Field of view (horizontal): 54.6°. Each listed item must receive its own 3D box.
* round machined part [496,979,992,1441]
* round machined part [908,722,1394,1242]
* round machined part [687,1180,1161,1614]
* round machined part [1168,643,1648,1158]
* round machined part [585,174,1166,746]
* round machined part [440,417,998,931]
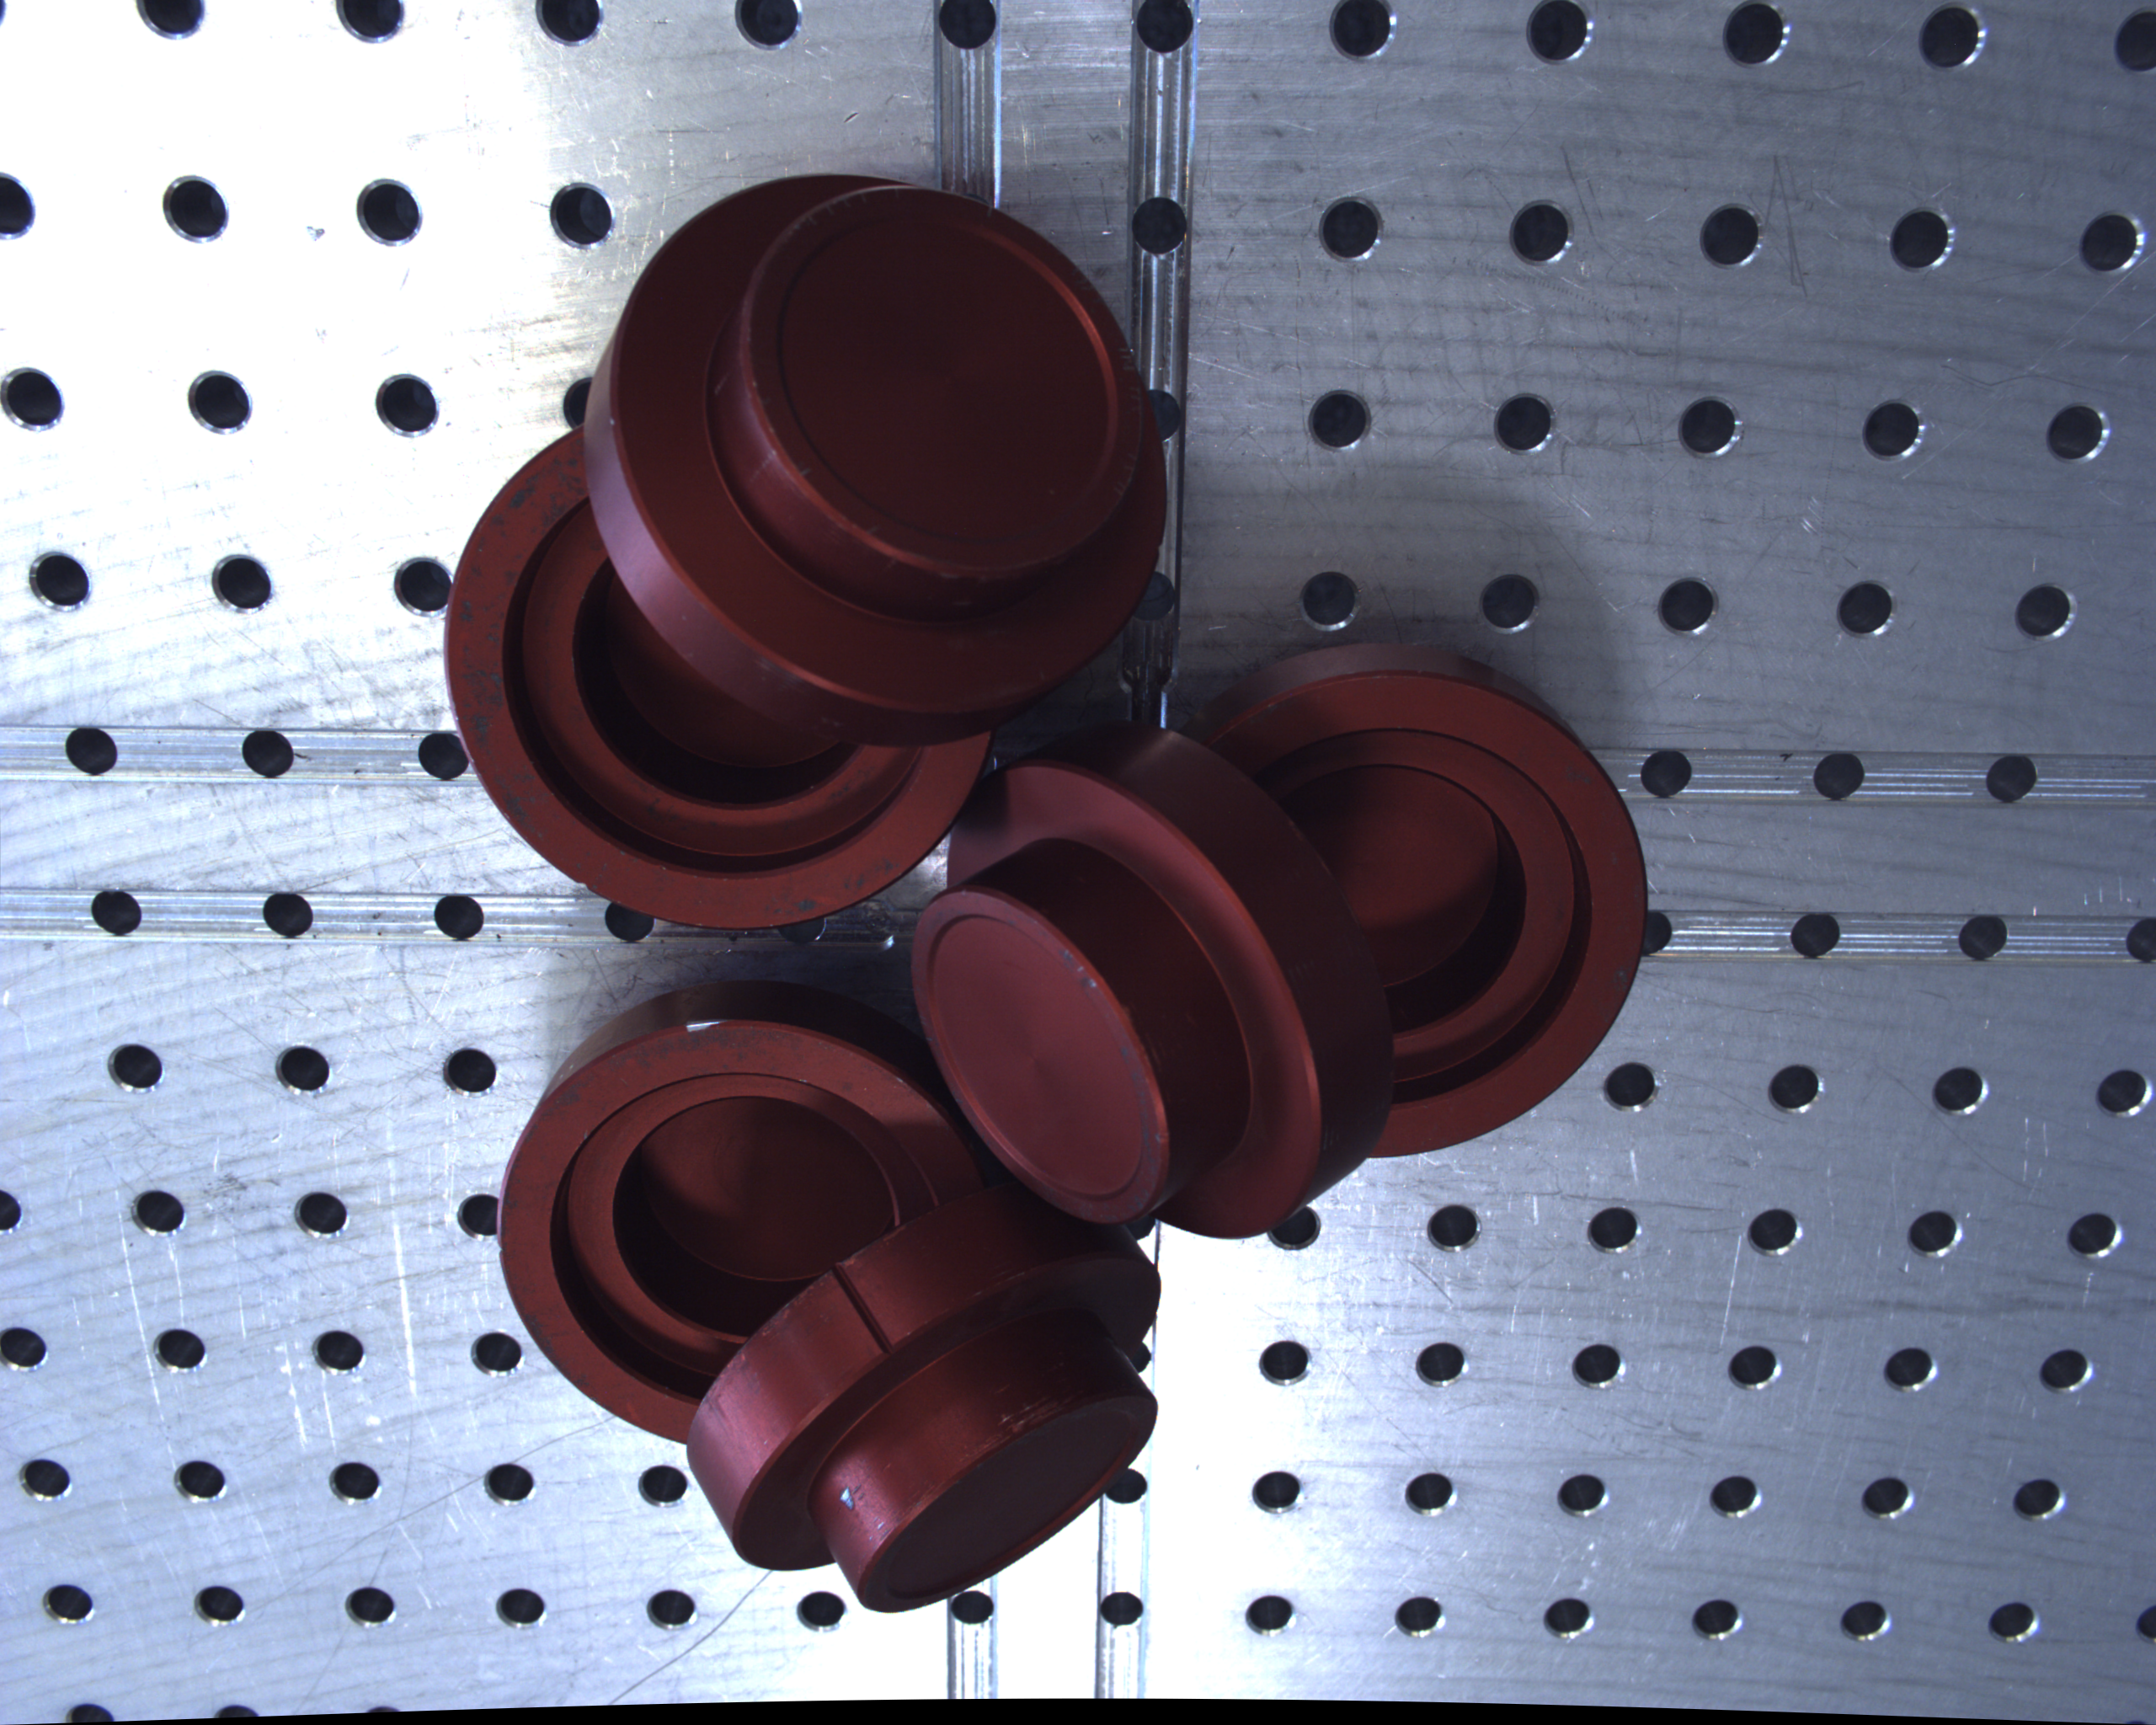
[{"bbox_3d":[-0.065,0.068,0.428,0.099,0.042,0.097,0,110,0],"label":"round machined part"},{"bbox_3d":[0.006,0.027,0.382,0.042,0.098,0.098,-29,114,-35],"label":"round machined part"},{"bbox_3d":[-0.023,0.110,0.414,0.099,0.042,0.098,-28,148,-19],"label":"round machined part"},{"bbox_3d":[0.056,0.005,0.406,0.099,0.042,0.097,0,110,0],"label":"round machined part"},{"bbox_3d":[-0.028,-0.072,0.348,0.099,0.042,0.098,8,71,-24],"label":"round machined part"},{"bbox_3d":[-0.063,-0.040,0.388,0.099,0.042,0.097,0,110,0],"label":"round machined part"}]
